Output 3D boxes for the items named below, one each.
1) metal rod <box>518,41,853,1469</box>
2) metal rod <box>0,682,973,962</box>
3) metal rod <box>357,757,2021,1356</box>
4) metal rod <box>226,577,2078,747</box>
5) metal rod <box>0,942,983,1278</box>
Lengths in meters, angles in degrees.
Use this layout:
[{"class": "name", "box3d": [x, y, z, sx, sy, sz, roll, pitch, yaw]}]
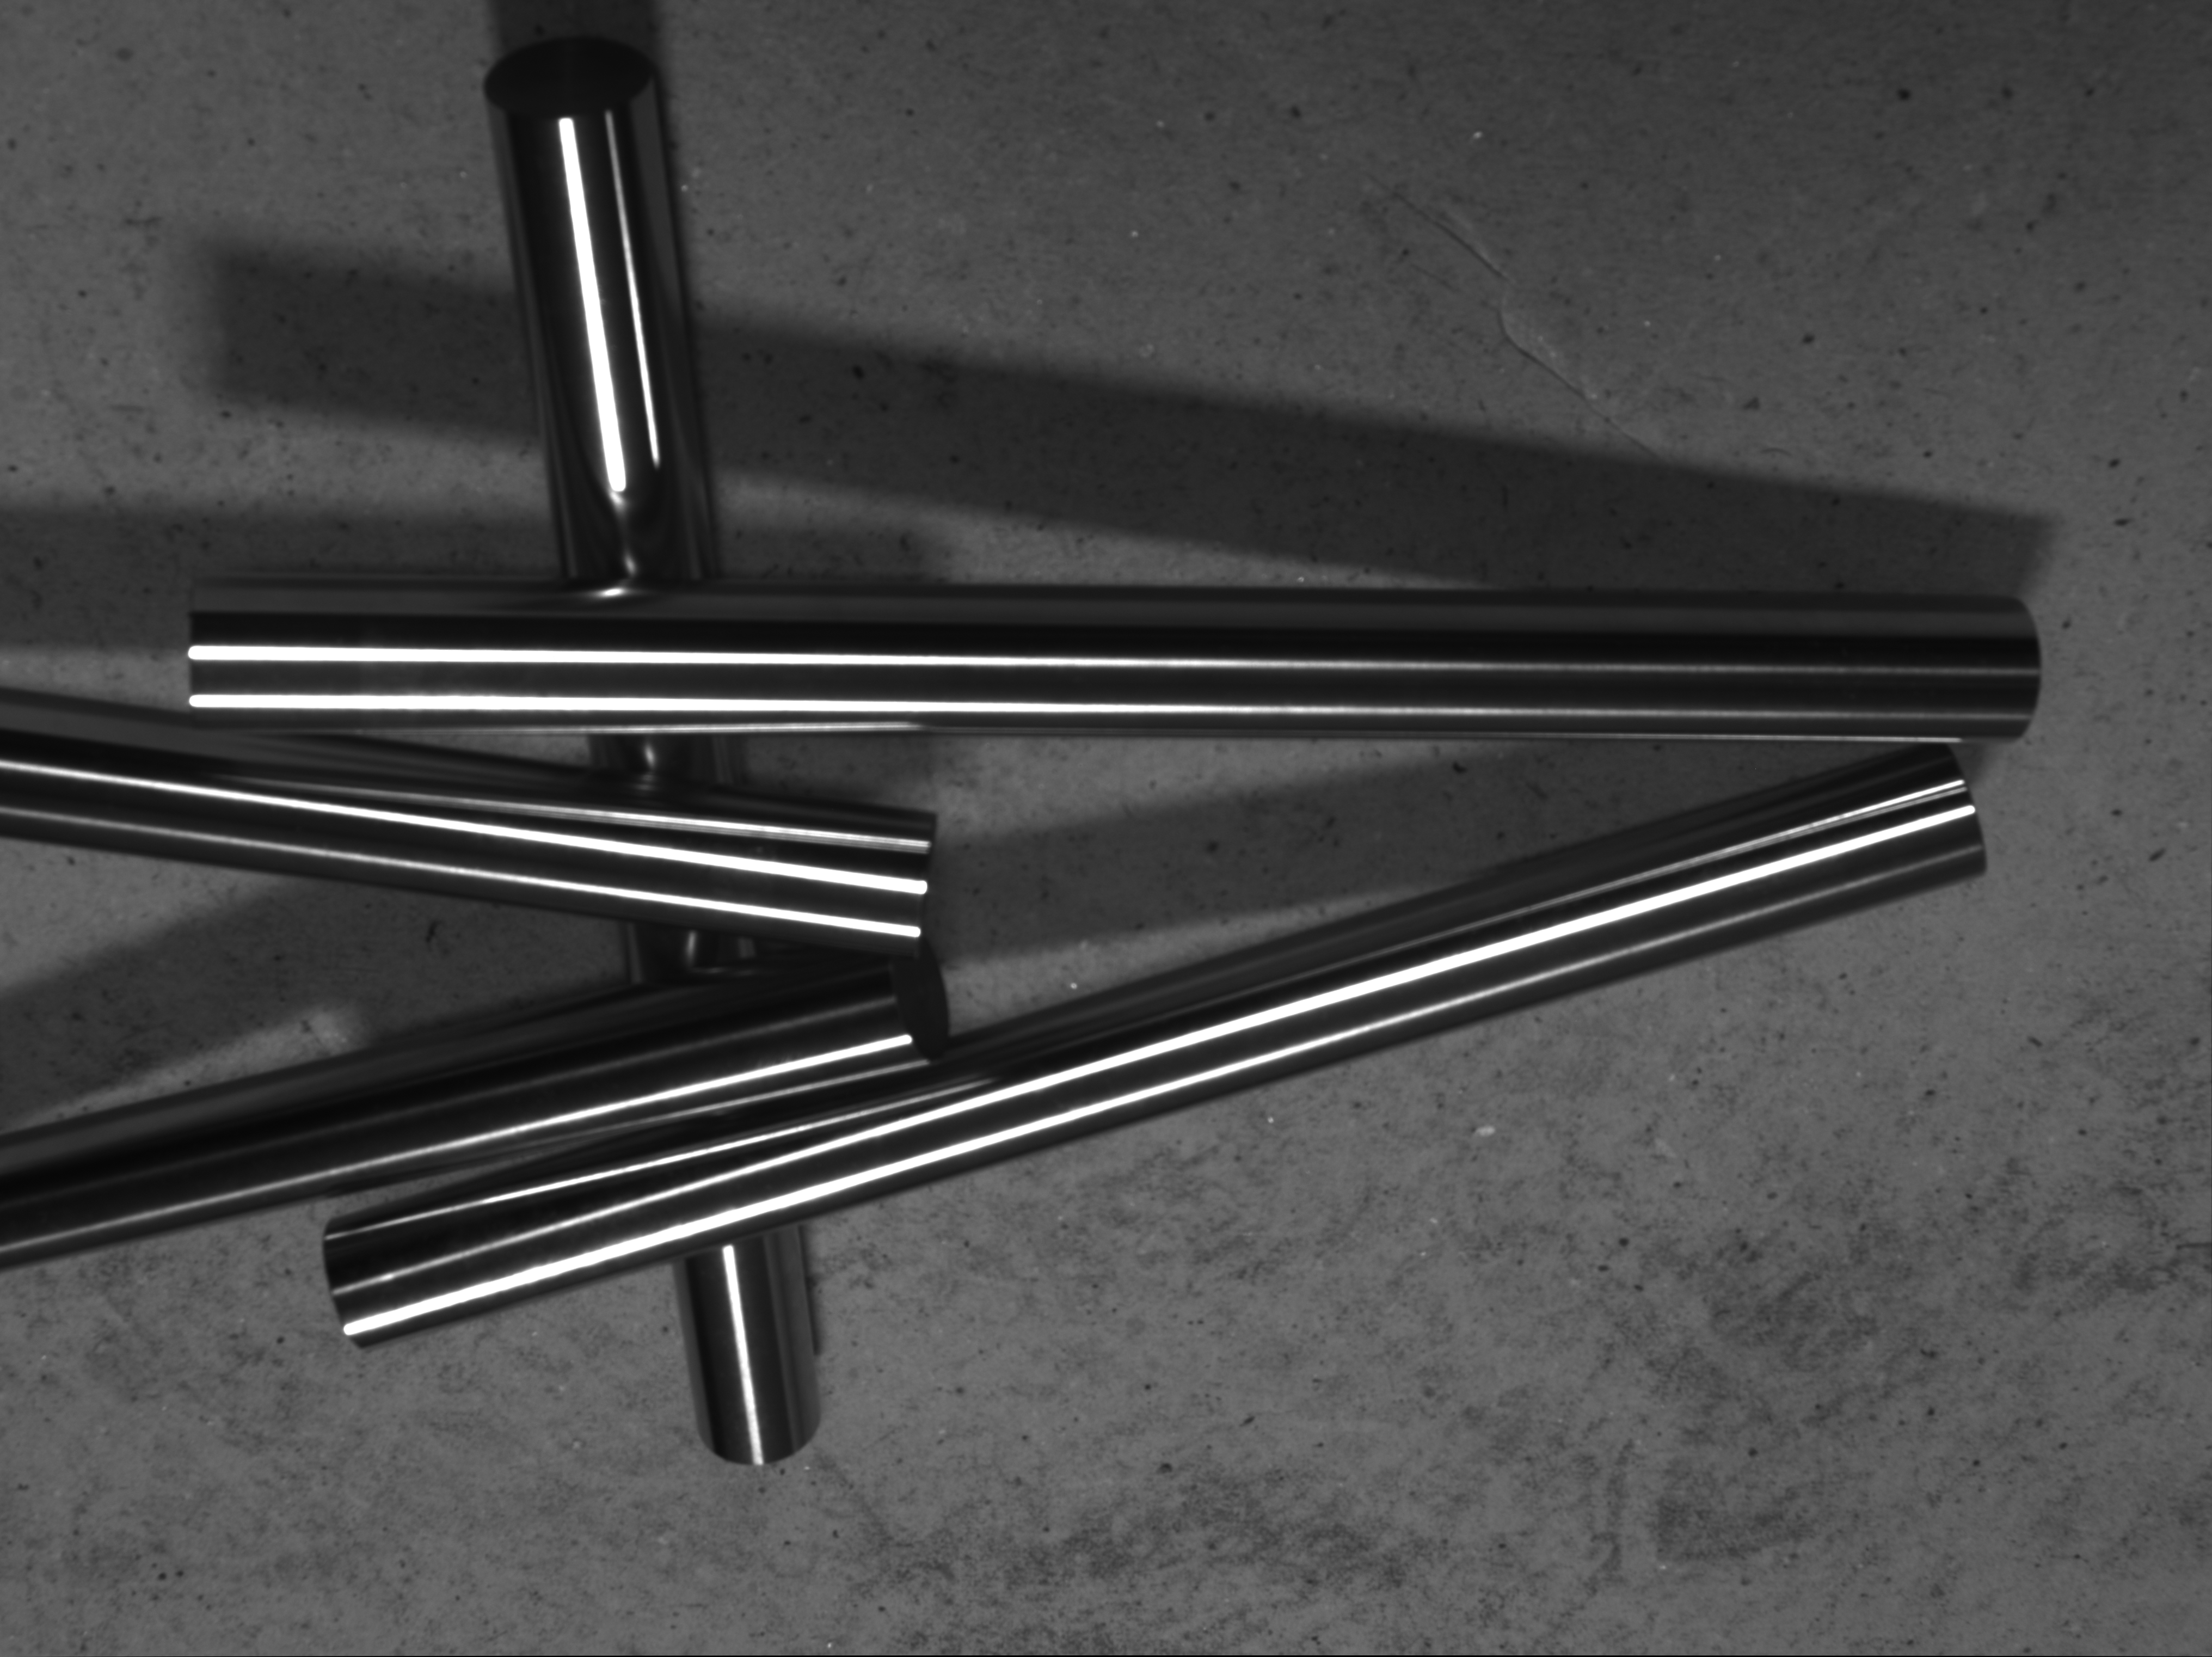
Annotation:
[{"class": "metal rod", "box3d": [-0.069, 0.004, 0.639, 0.025, 0.025, 0.300, -3, 130, 0]}, {"class": "metal rod", "box3d": [-0.172, -0.010, 0.606, 0.300, 0.025, 0.025, 8, 130, -1]}, {"class": "metal rod", "box3d": [0.013, 0.040, 0.652, 0.300, 0.025, 0.025, -17, 129, 4]}, {"class": "metal rod", "box3d": [0.012, -0.026, 0.596, 0.300, 0.025, 0.025, 0, 130, -10]}, {"class": "metal rod", "box3d": [-0.165, 0.061, 0.666, 0.300, 0.025, 0.025, -14, 129, 17]}]
